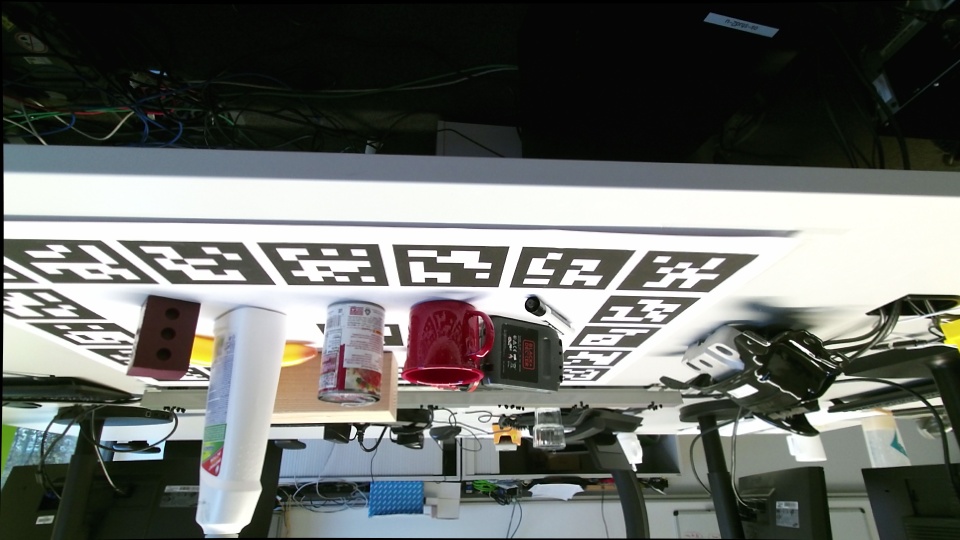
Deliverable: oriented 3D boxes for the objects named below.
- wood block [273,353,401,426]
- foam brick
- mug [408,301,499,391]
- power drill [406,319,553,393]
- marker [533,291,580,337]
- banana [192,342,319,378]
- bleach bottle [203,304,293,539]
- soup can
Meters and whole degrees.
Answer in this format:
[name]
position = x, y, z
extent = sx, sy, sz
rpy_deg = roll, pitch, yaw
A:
[wood block]
position = -0.227, 0.179, 0.799
extent = 0.207, 0.090, 0.090
rpy_deg = 0, 154, -2
[foam brick]
position = -0.338, 0.070, 0.579
extent = 0.053, 0.077, 0.051
rpy_deg = 15, 152, -35
[mug]
position = -0.025, 0.083, 0.605
extent = 0.117, 0.081, 0.093
rpy_deg = -25, 143, 36
[power drill]
position = 0.013, 0.130, 0.748
extent = 0.185, 0.057, 0.187
rpy_deg = 18, 150, -28
[marker]
position = 0.090, 0.053, 0.624
extent = 0.020, 0.019, 0.121
rpy_deg = -15, 151, 22
[banana]
position = -0.303, 0.121, 0.723
extent = 0.198, 0.038, 0.074
rpy_deg = 10, 139, -16
[bleach bottle]
position = -0.260, 0.170, 0.588
extent = 0.068, 0.249, 0.103
rpy_deg = 14, 152, -30
[soup can]
position = -0.134, 0.097, 0.596
extent = 0.068, 0.101, 0.068
rpy_deg = 1, 159, 0
